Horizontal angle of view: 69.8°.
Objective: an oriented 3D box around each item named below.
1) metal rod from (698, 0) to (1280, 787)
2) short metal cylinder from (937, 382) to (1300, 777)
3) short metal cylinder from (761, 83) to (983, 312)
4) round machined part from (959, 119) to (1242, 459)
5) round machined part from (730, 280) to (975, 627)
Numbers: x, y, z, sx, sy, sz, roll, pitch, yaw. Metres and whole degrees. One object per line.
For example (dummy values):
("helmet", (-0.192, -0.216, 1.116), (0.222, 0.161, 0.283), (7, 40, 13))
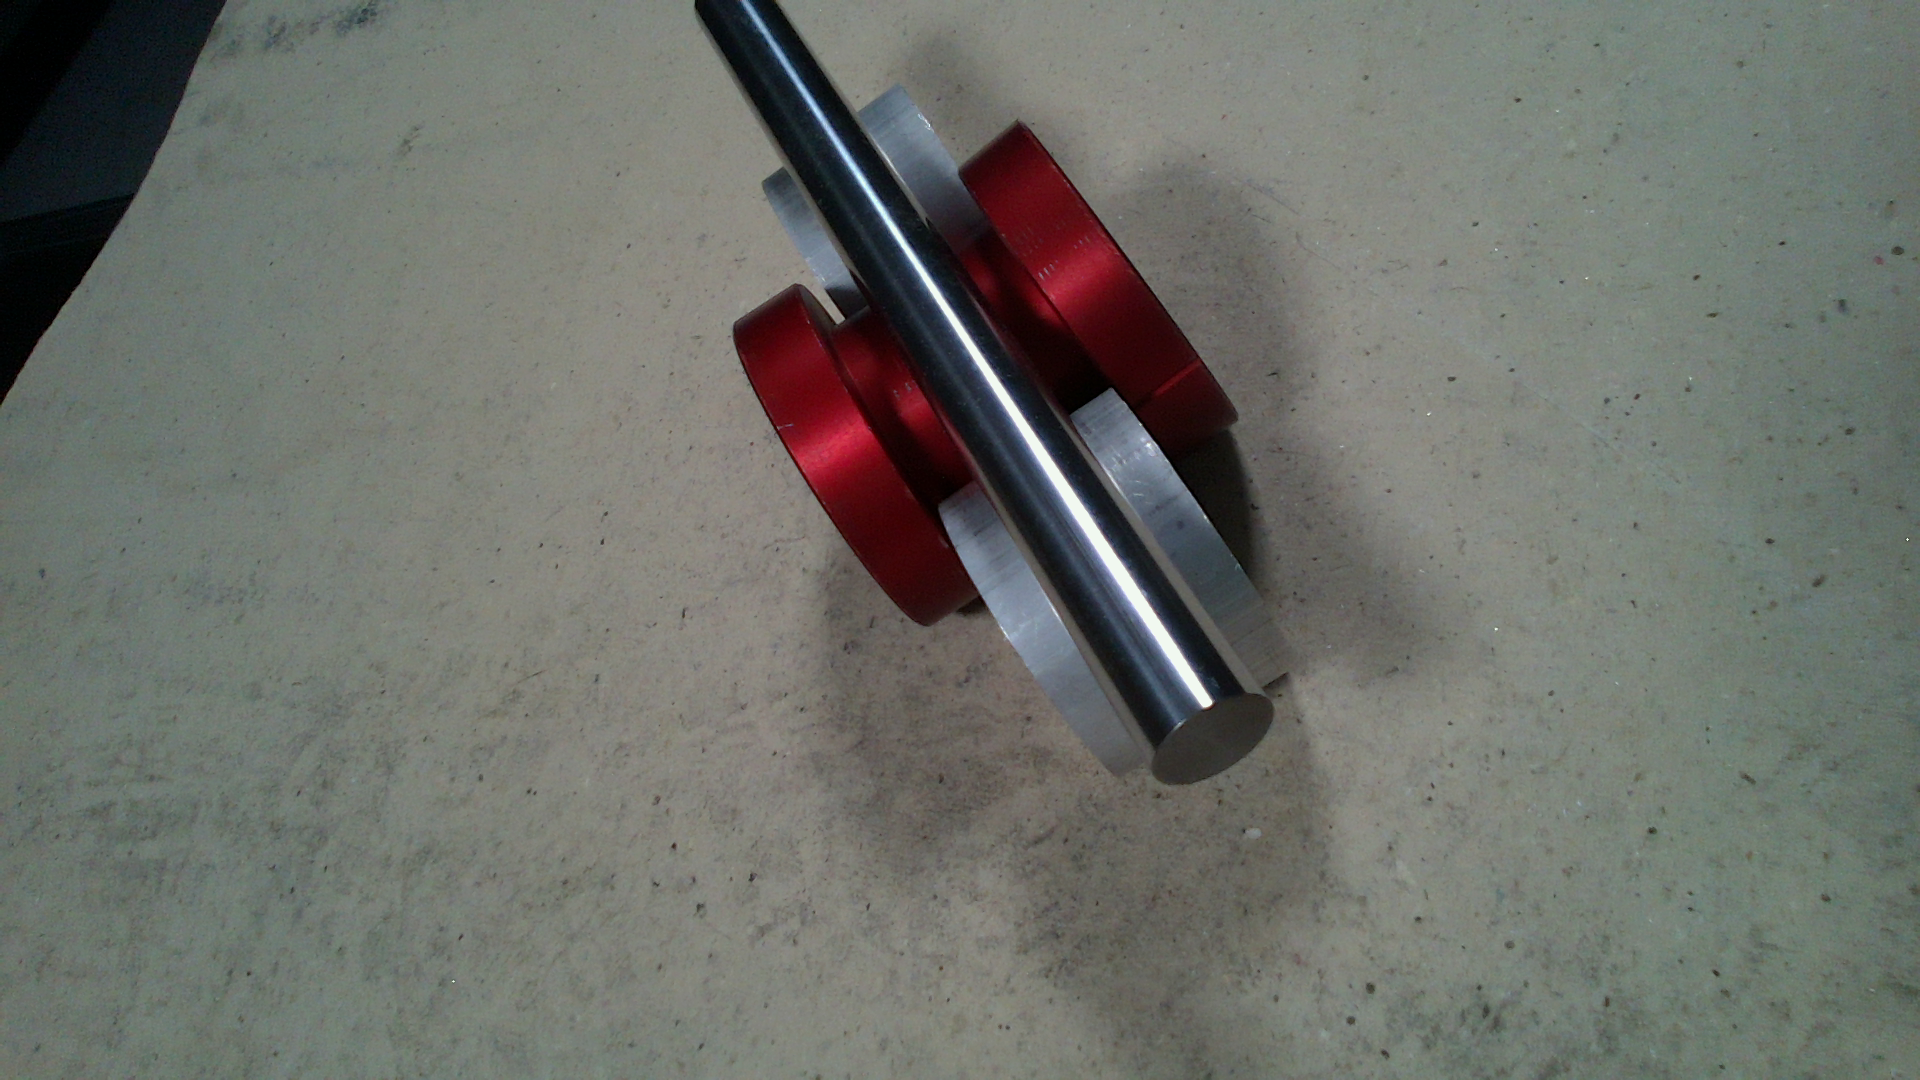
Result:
("metal rod", (-0.012, -0.065, 0.338), (0.025, 0.025, 0.299), (-35, 51, 6))
("short metal cylinder", (0.038, 0.009, 0.332), (0.050, 0.080, 0.080), (-34, 51, 6))
("short metal cylinder", (-0.017, -0.092, 0.424), (0.050, 0.080, 0.080), (-34, 51, 6))
("round machined part", (0.029, -0.059, 0.368), (0.042, 0.098, 0.098), (-37, 51, 10))
("round machined part", (-0.018, -0.029, 0.372), (0.042, 0.098, 0.098), (-32, 51, 3))
